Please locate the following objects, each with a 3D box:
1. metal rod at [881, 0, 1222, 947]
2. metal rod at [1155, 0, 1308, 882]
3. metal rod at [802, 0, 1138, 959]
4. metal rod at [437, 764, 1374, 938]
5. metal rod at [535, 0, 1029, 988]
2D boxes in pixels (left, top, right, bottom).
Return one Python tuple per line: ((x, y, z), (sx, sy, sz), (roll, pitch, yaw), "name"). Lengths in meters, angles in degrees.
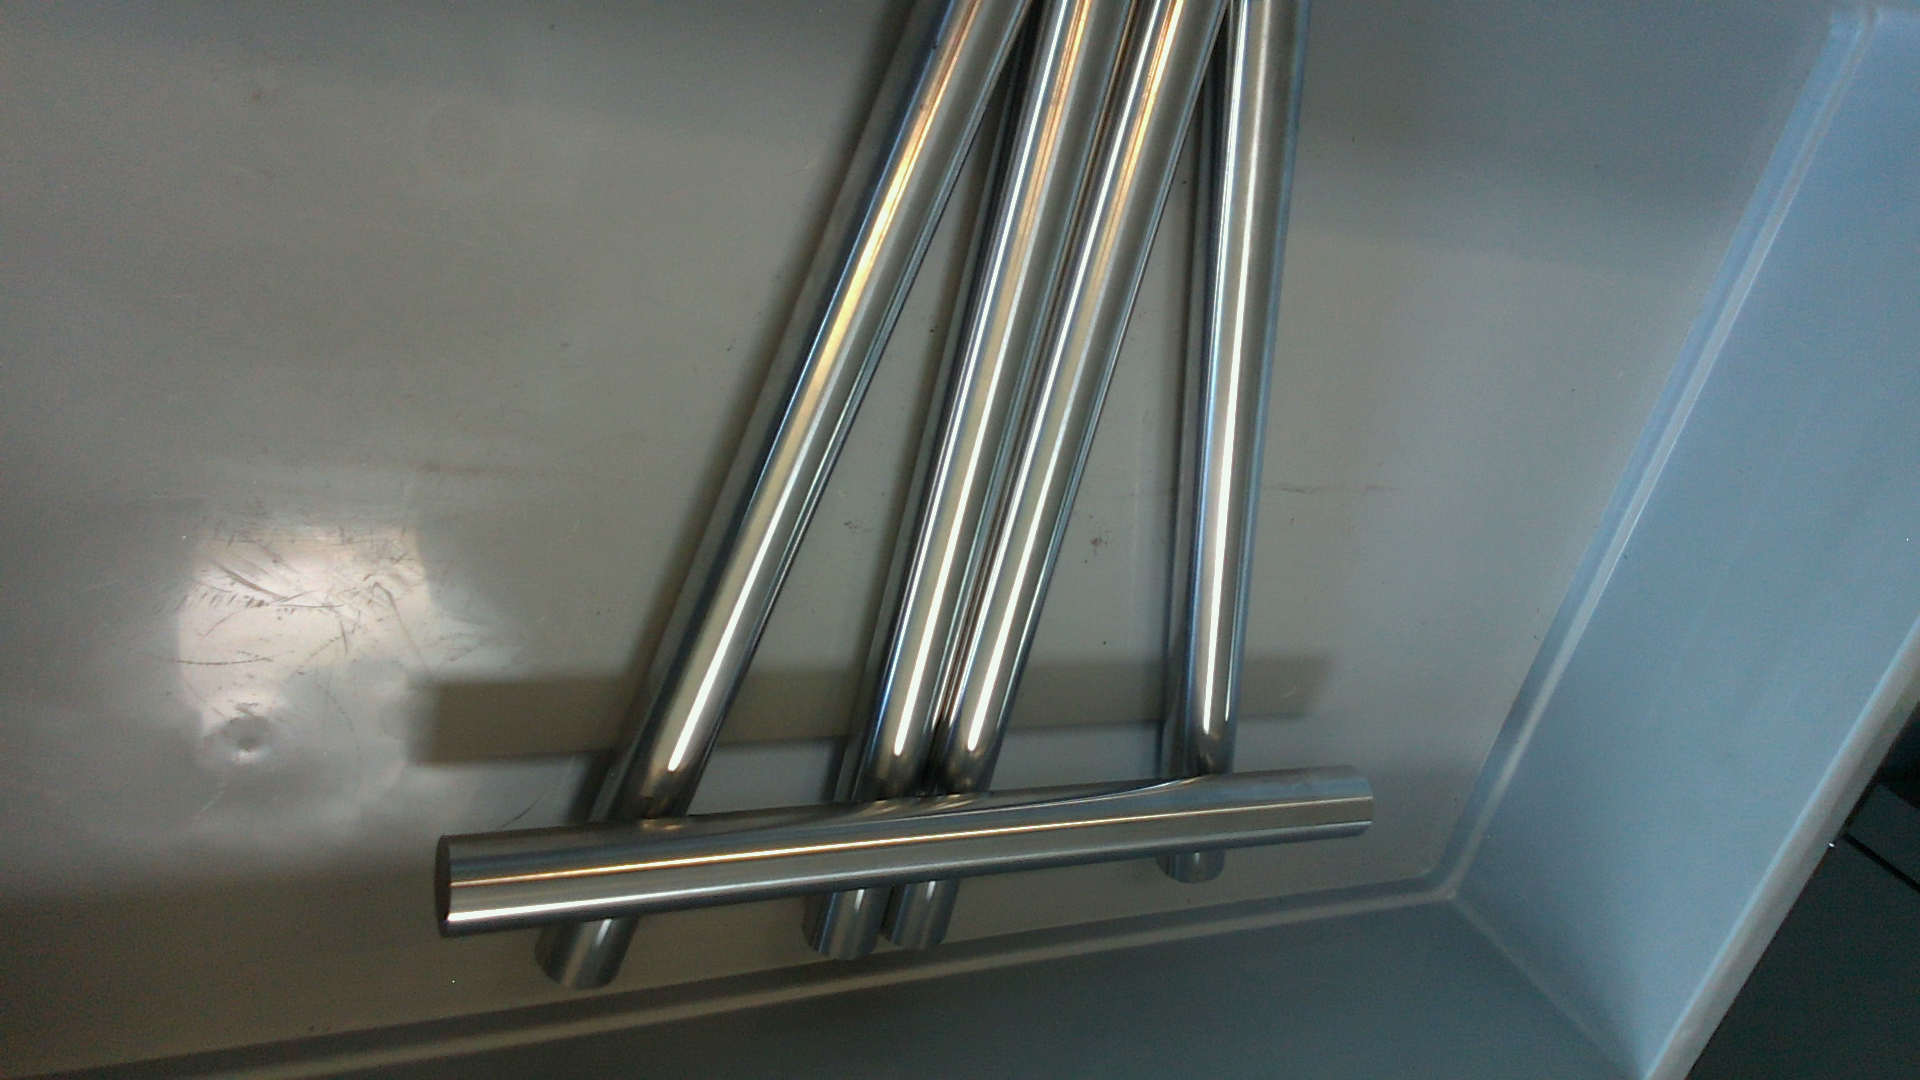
((0.018, -0.006, 0.394), (0.025, 0.025, 0.300), (1, 118, -29), "metal rod")
((0.079, -0.011, 0.424), (0.025, 0.025, 0.300), (-15, 125, -20), "metal rod")
((-0.004, -0.005, 0.383), (0.025, 0.025, 0.300), (1, 118, -29), "metal rod")
((0.004, 0.088, 0.411), (0.301, 0.025, 0.025), (1, 118, -29), "metal rod")
((-0.052, -0.007, 0.356), (0.025, 0.025, 0.300), (13, 112, -33), "metal rod")
